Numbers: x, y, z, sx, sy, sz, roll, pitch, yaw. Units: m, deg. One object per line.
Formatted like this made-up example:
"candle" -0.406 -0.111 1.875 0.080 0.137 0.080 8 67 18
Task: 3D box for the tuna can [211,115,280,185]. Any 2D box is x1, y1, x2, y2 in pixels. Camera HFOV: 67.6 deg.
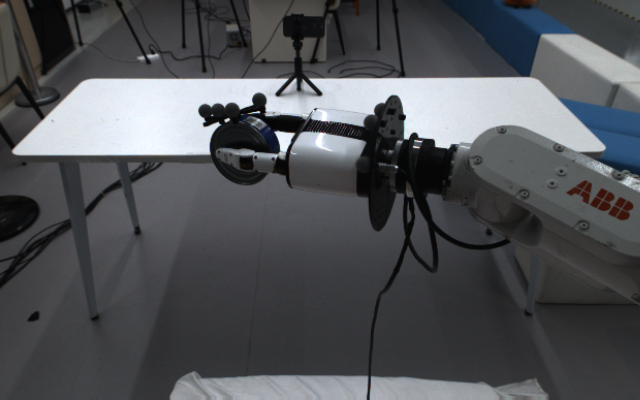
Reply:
"tuna can" -0.091 -0.064 0.622 0.085 0.085 0.034 13 29 15
